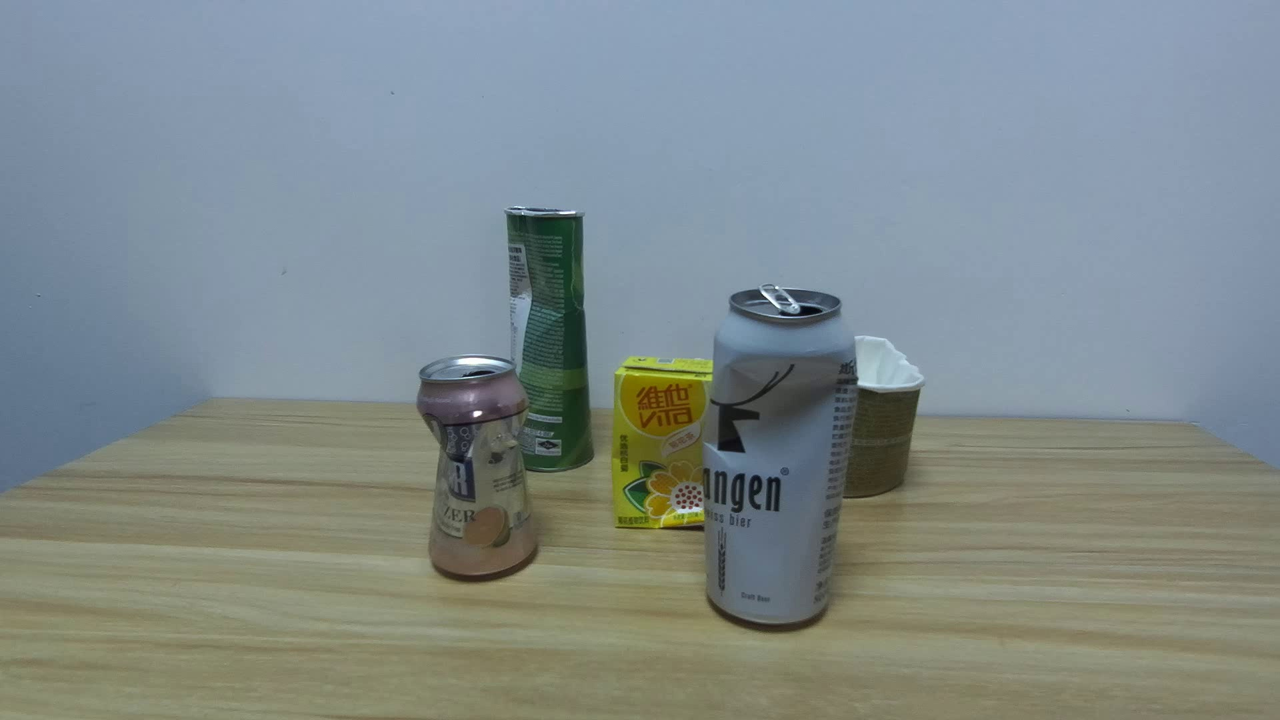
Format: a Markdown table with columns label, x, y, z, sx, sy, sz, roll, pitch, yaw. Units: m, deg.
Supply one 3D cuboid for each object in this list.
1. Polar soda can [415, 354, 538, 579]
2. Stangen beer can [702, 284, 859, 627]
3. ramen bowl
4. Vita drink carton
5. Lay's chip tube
| label | x | y | z | sx | sy | sz | roll | pitch | yaw |
| --- | --- | --- | --- | --- | --- | --- | --- | --- | --- |
| Polar soda can | -0.098 | 0.065 | 0.421 | 0.067 | 0.122 | 0.074 | 1 | 13 | 10 |
| Stangen beer can | 0.069 | 0.050 | 0.361 | 0.070 | 0.173 | 0.070 | -11 | 20 | -32 |
| ramen bowl | 0.153 | 0.041 | 0.537 | 0.114 | 0.097 | 0.133 | -2 | 14 | -8 |
| Vita drink carton | 0.022 | 0.056 | 0.463 | 0.076 | 0.109 | 0.043 | 3 | 16 | 10 |
| Lay's chip tube | -0.074 | -0.016 | 0.558 | 0.075 | 0.199 | 0.069 | 2 | 15 | 10 |
